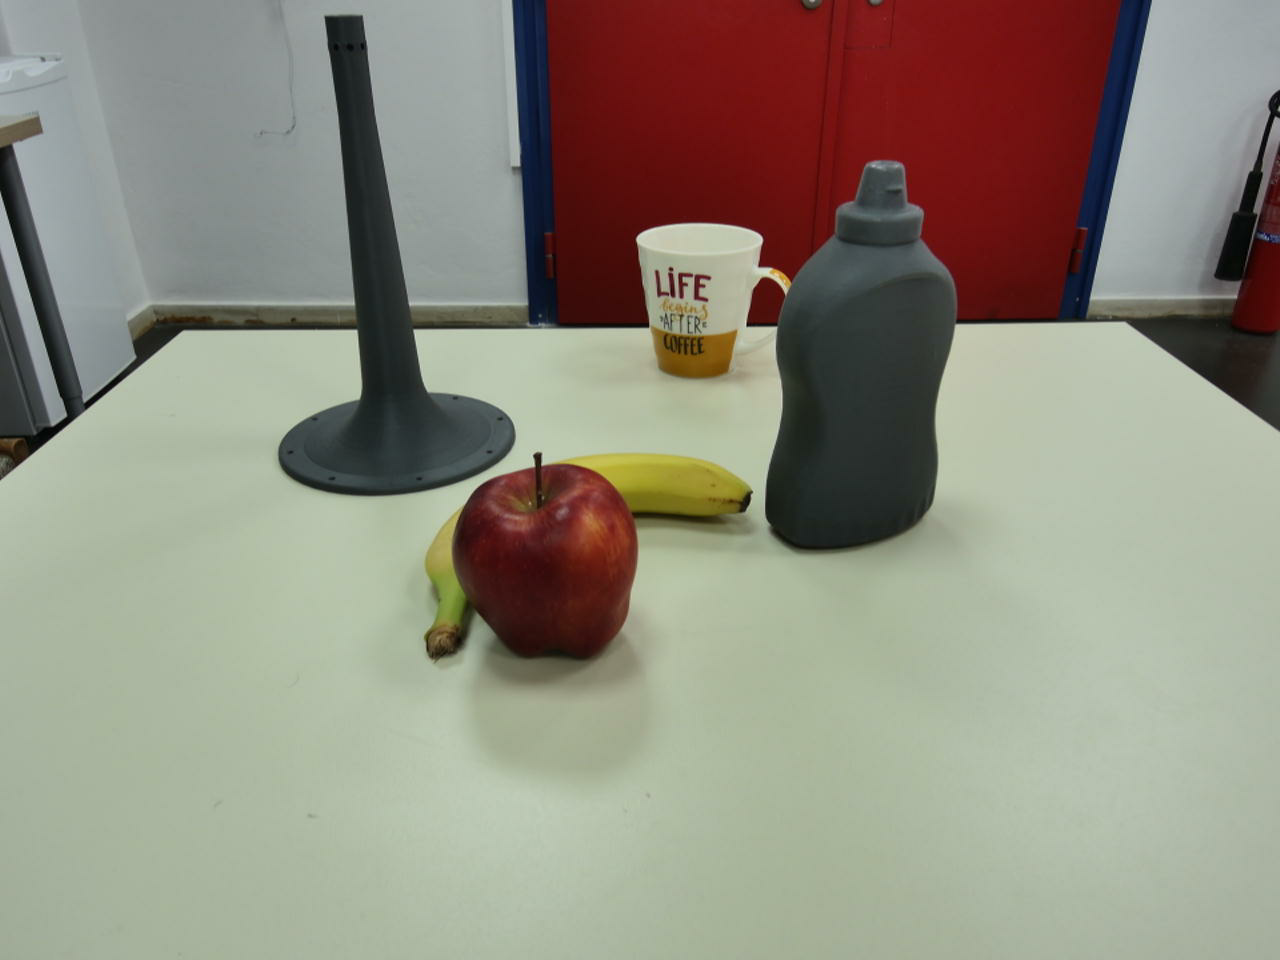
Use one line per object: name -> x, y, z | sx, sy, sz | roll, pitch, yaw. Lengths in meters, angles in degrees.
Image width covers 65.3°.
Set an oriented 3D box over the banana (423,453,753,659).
banana -> -0.040, 0.022, 0.524 | 0.196, 0.041, 0.094 | -18, 31, -32
